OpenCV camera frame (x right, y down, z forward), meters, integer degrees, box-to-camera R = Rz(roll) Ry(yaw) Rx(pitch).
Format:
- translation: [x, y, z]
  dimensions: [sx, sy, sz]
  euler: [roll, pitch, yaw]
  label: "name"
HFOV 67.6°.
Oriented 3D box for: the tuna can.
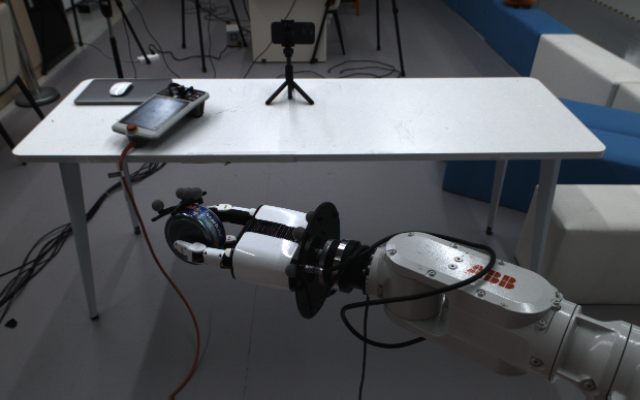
- translation: [-0.180, 0.057, 0.706]
  dimensions: [0.085, 0.085, 0.034]
  euler: [15, 30, 17]
  label: "tuna can"
